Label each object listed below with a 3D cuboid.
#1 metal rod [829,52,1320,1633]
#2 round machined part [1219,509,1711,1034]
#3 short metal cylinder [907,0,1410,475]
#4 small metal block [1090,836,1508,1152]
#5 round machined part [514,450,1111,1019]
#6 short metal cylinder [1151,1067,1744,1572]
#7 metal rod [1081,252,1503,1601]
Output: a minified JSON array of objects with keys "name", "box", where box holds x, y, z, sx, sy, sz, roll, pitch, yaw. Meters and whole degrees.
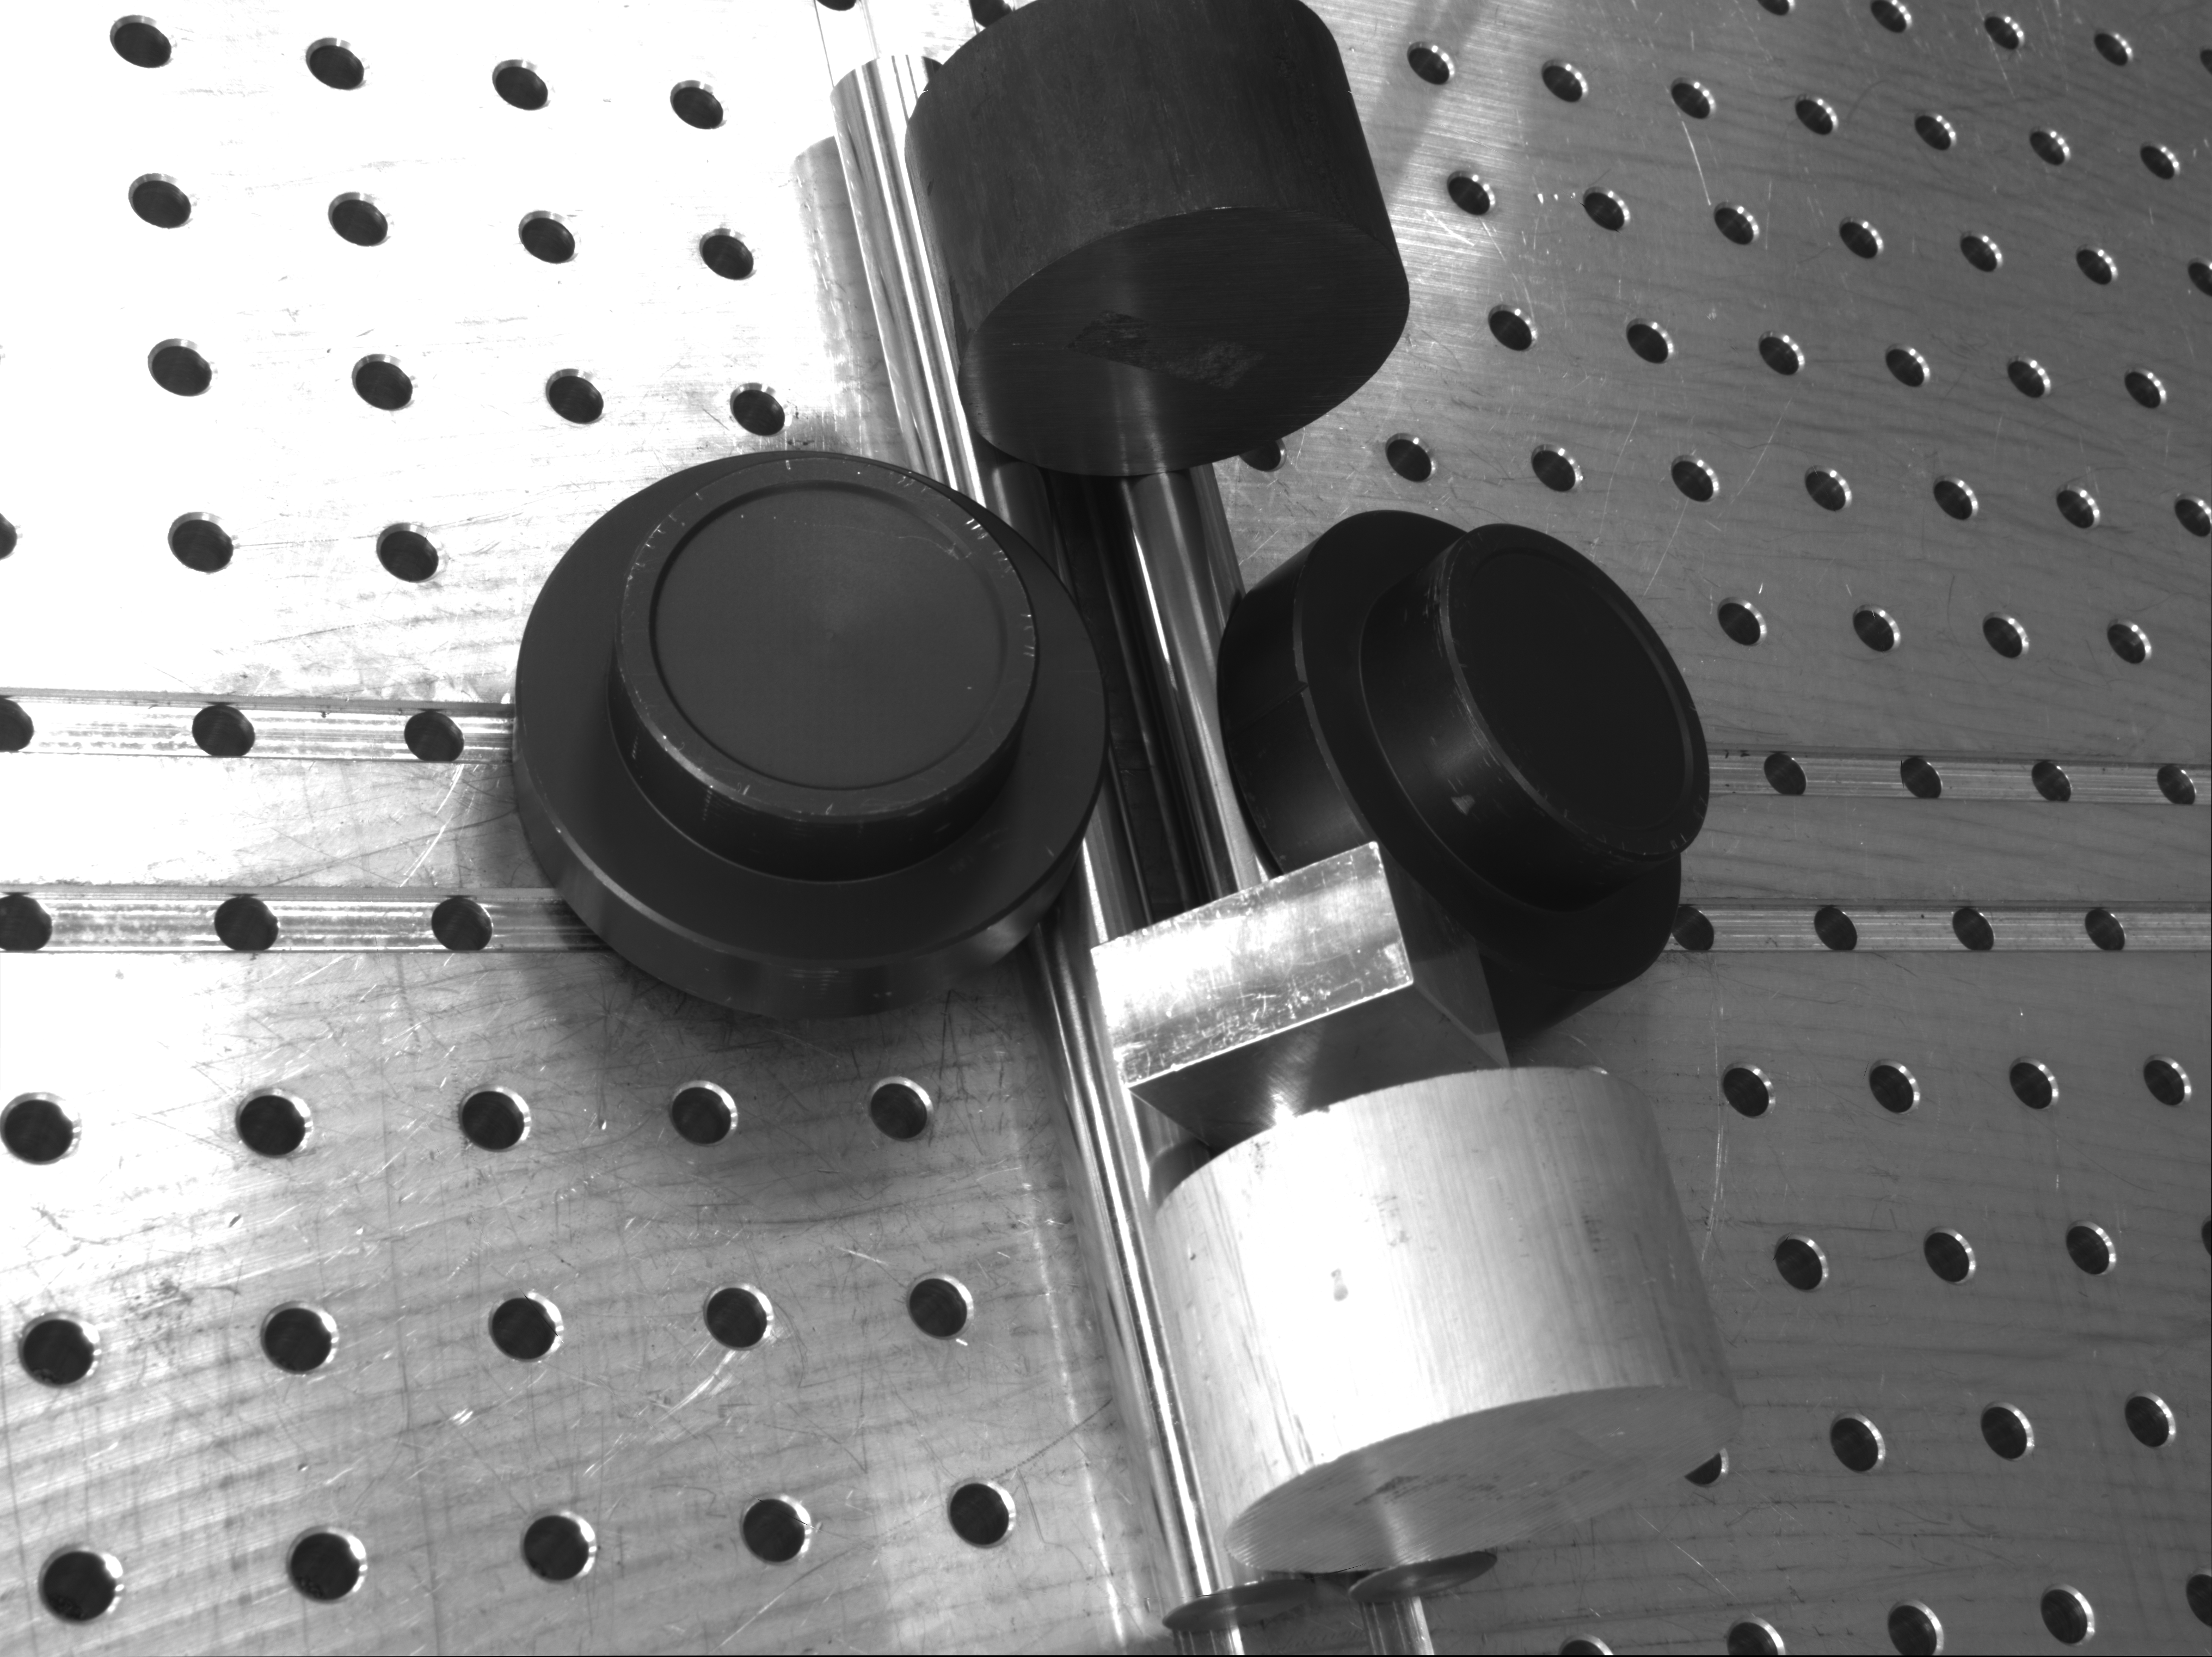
[{"name":"metal rod","box":[-0.010,-0.009,0.641,0.025,0.025,0.300,1,61,-28]},{"name":"round machined part","box":[0.071,-0.016,0.661,0.098,0.042,0.098,26,47,-31]},{"name":"short metal cylinder","box":[0.009,-0.106,0.647,0.080,0.080,0.050,1,61,-28]},{"name":"small metal block","box":[0.032,0.029,0.595,0.050,0.050,0.025,41,32,-59]},{"name":"round machined part","box":[-0.047,-0.022,0.603,0.098,0.042,0.098,5,61,-10]},{"name":"short metal cylinder","box":[0.051,0.076,0.560,0.080,0.080,0.050,1,61,-28]},{"name":"metal rod","box":[0.021,-0.011,0.658,0.025,0.025,0.300,1,61,-28]}]
